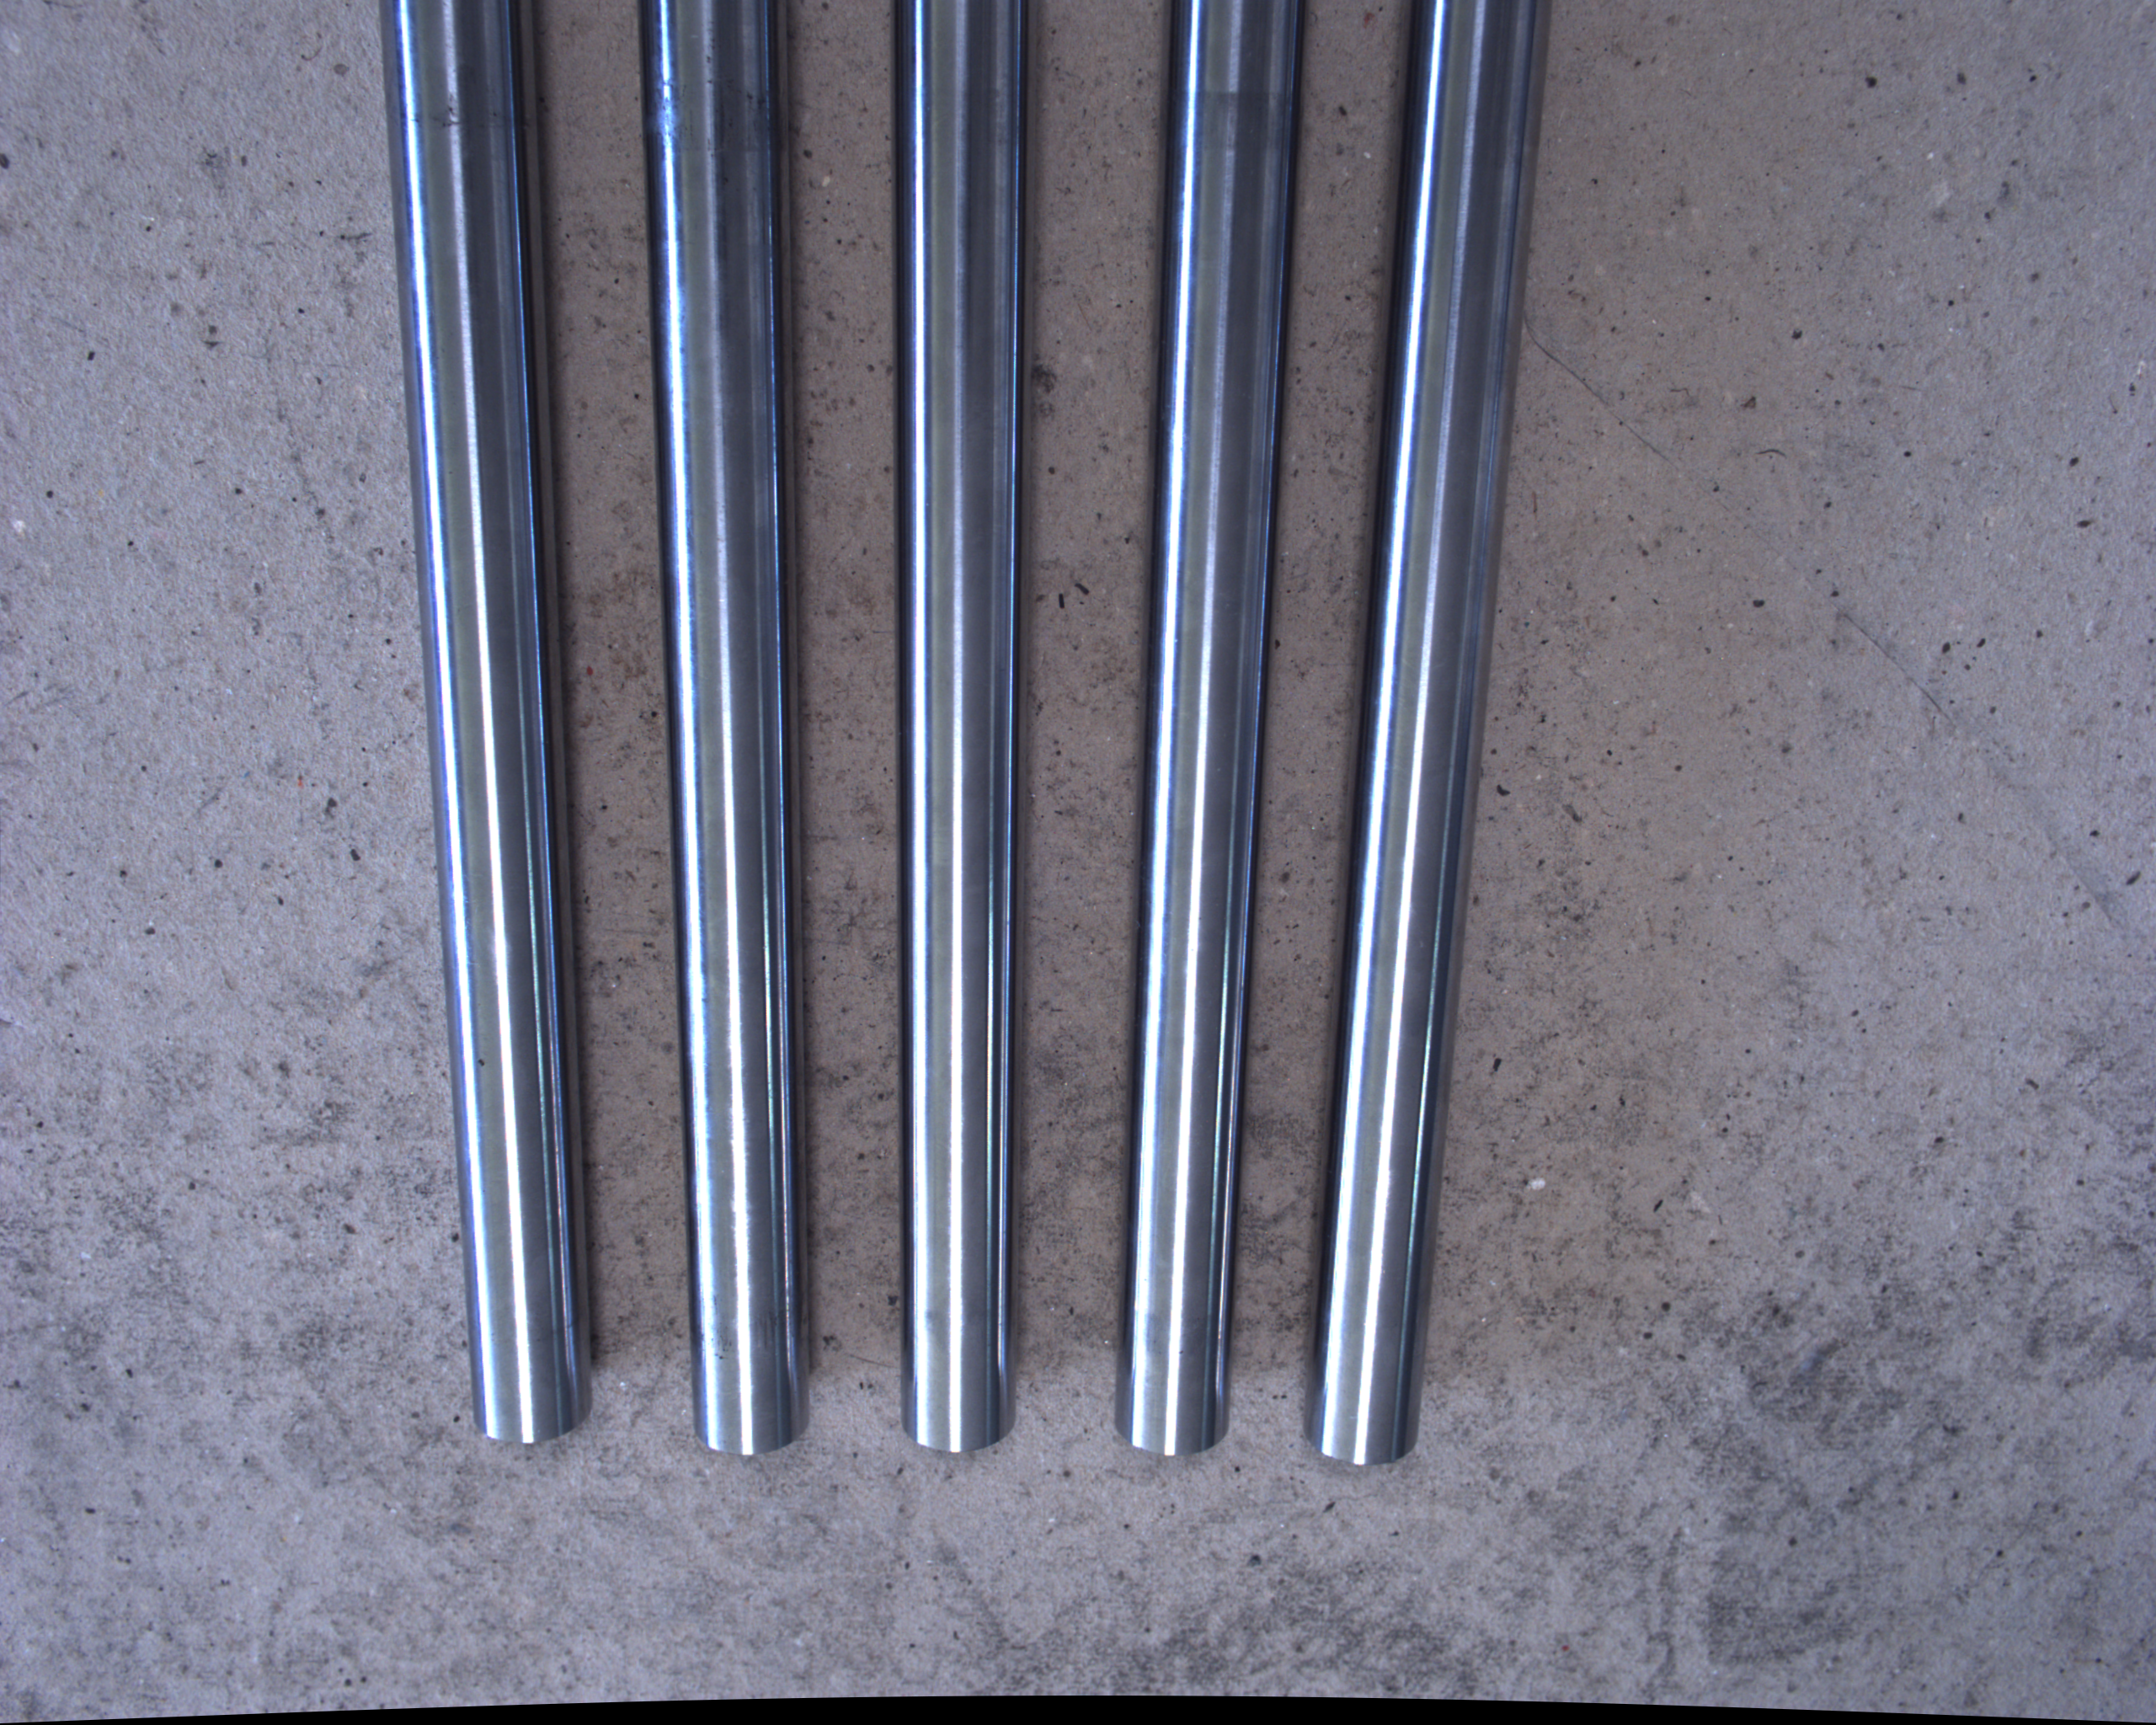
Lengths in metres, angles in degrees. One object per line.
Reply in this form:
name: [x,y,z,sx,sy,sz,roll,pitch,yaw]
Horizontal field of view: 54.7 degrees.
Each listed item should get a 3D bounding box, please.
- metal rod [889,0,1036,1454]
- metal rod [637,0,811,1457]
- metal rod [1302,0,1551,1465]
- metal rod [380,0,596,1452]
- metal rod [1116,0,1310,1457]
metal rod: [-0.023,-0.019,0.404,0.025,0.025,0.298,1,110,-1]
metal rod: [-0.067,-0.018,0.403,0.025,0.025,0.298,1,110,-1]
metal rod: [0.065,-0.016,0.406,0.025,0.025,0.298,1,110,-1]
metal rod: [-0.111,-0.019,0.401,0.025,0.025,0.298,2,110,-1]
metal rod: [0.024,-0.018,0.404,0.025,0.025,0.298,1,110,-1]
